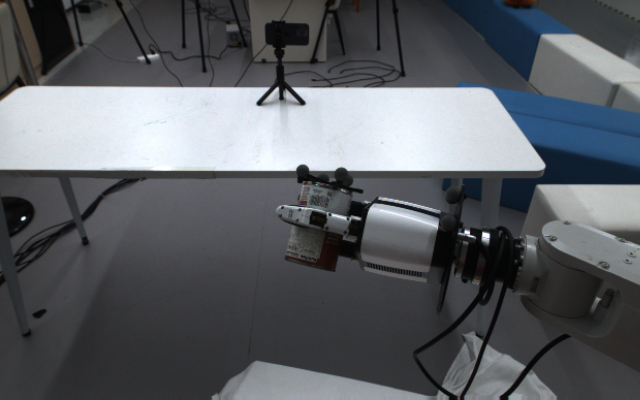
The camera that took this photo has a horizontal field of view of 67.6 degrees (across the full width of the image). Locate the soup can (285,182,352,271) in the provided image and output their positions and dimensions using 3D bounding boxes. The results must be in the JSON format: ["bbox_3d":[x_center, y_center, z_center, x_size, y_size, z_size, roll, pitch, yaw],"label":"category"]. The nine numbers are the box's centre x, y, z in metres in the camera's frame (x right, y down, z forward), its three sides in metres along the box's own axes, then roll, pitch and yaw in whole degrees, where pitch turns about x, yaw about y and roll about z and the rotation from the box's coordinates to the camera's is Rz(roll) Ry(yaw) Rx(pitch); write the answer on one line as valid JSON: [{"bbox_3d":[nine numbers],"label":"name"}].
[{"bbox_3d":[0.001,0.034,0.615,0.067,0.101,0.067,13,-6,1],"label":"soup can"}]
